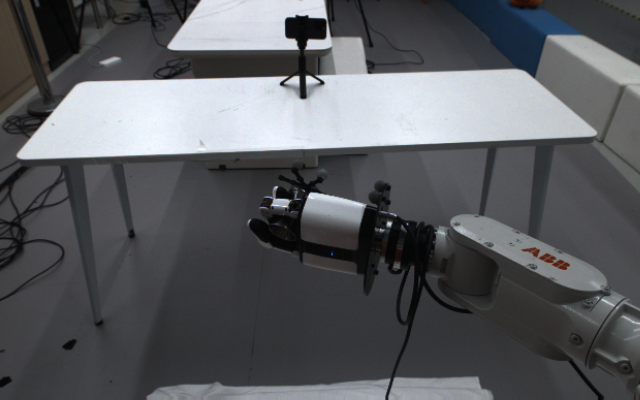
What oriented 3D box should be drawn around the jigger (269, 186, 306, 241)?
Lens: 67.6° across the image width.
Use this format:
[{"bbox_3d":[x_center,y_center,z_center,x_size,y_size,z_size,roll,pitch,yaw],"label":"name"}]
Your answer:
[{"bbox_3d":[-0.040,0.018,0.708,0.043,0.043,0.071,15,58,18],"label":"jigger"}]
